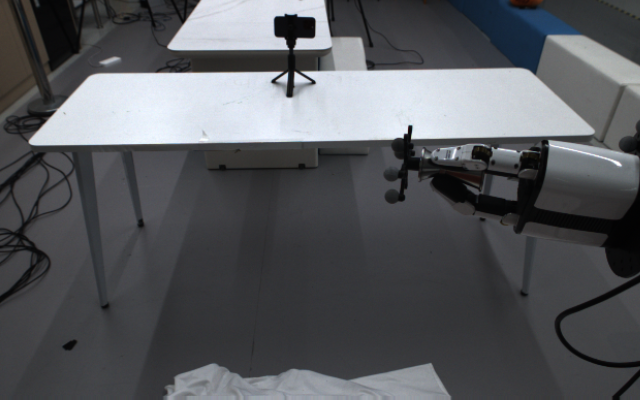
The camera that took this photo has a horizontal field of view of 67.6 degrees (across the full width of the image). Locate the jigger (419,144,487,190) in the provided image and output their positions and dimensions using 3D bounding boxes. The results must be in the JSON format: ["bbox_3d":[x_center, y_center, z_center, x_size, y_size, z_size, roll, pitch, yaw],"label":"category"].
[{"bbox_3d":[0.150,-0.042,0.536,0.071,0.043,0.043,7,35,16],"label":"jigger"}]
